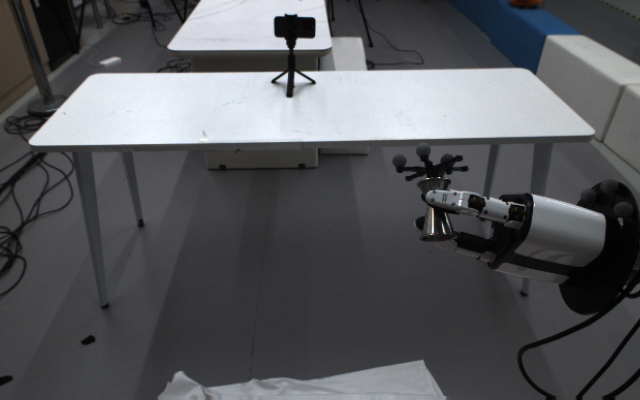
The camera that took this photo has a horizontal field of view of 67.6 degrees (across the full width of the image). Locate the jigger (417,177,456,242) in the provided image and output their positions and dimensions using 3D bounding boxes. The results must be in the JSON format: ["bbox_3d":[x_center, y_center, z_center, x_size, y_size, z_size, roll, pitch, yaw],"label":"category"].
[{"bbox_3d":[0.137,0.009,0.569,0.043,0.043,0.071,0,75,-3],"label":"jigger"}]
